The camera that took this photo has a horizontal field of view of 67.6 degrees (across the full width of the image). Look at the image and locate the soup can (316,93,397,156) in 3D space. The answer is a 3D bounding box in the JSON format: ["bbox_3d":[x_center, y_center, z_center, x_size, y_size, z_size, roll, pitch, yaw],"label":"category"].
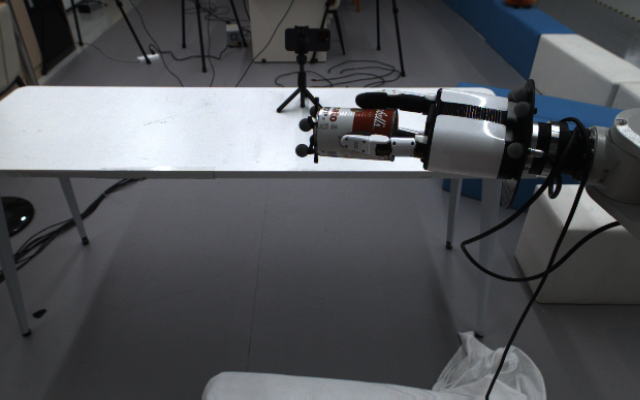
[{"bbox_3d":[0.051,-0.089,0.642,0.101,0.067,0.067,5,34,13],"label":"soup can"}]
